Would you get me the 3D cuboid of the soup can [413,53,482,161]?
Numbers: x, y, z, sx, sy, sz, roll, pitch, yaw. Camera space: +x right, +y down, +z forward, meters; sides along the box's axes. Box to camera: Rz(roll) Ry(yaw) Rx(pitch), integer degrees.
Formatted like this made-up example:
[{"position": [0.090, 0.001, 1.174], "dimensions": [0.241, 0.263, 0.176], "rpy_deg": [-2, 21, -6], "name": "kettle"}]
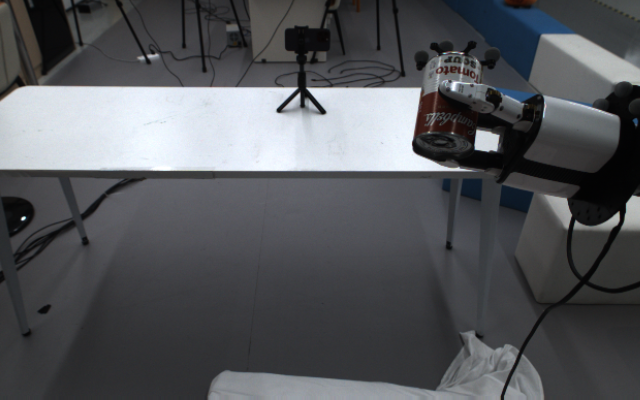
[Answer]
[{"position": [0.147, -0.108, 0.548], "dimensions": [0.067, 0.067, 0.101], "rpy_deg": [9, 74, 9], "name": "soup can"}]
